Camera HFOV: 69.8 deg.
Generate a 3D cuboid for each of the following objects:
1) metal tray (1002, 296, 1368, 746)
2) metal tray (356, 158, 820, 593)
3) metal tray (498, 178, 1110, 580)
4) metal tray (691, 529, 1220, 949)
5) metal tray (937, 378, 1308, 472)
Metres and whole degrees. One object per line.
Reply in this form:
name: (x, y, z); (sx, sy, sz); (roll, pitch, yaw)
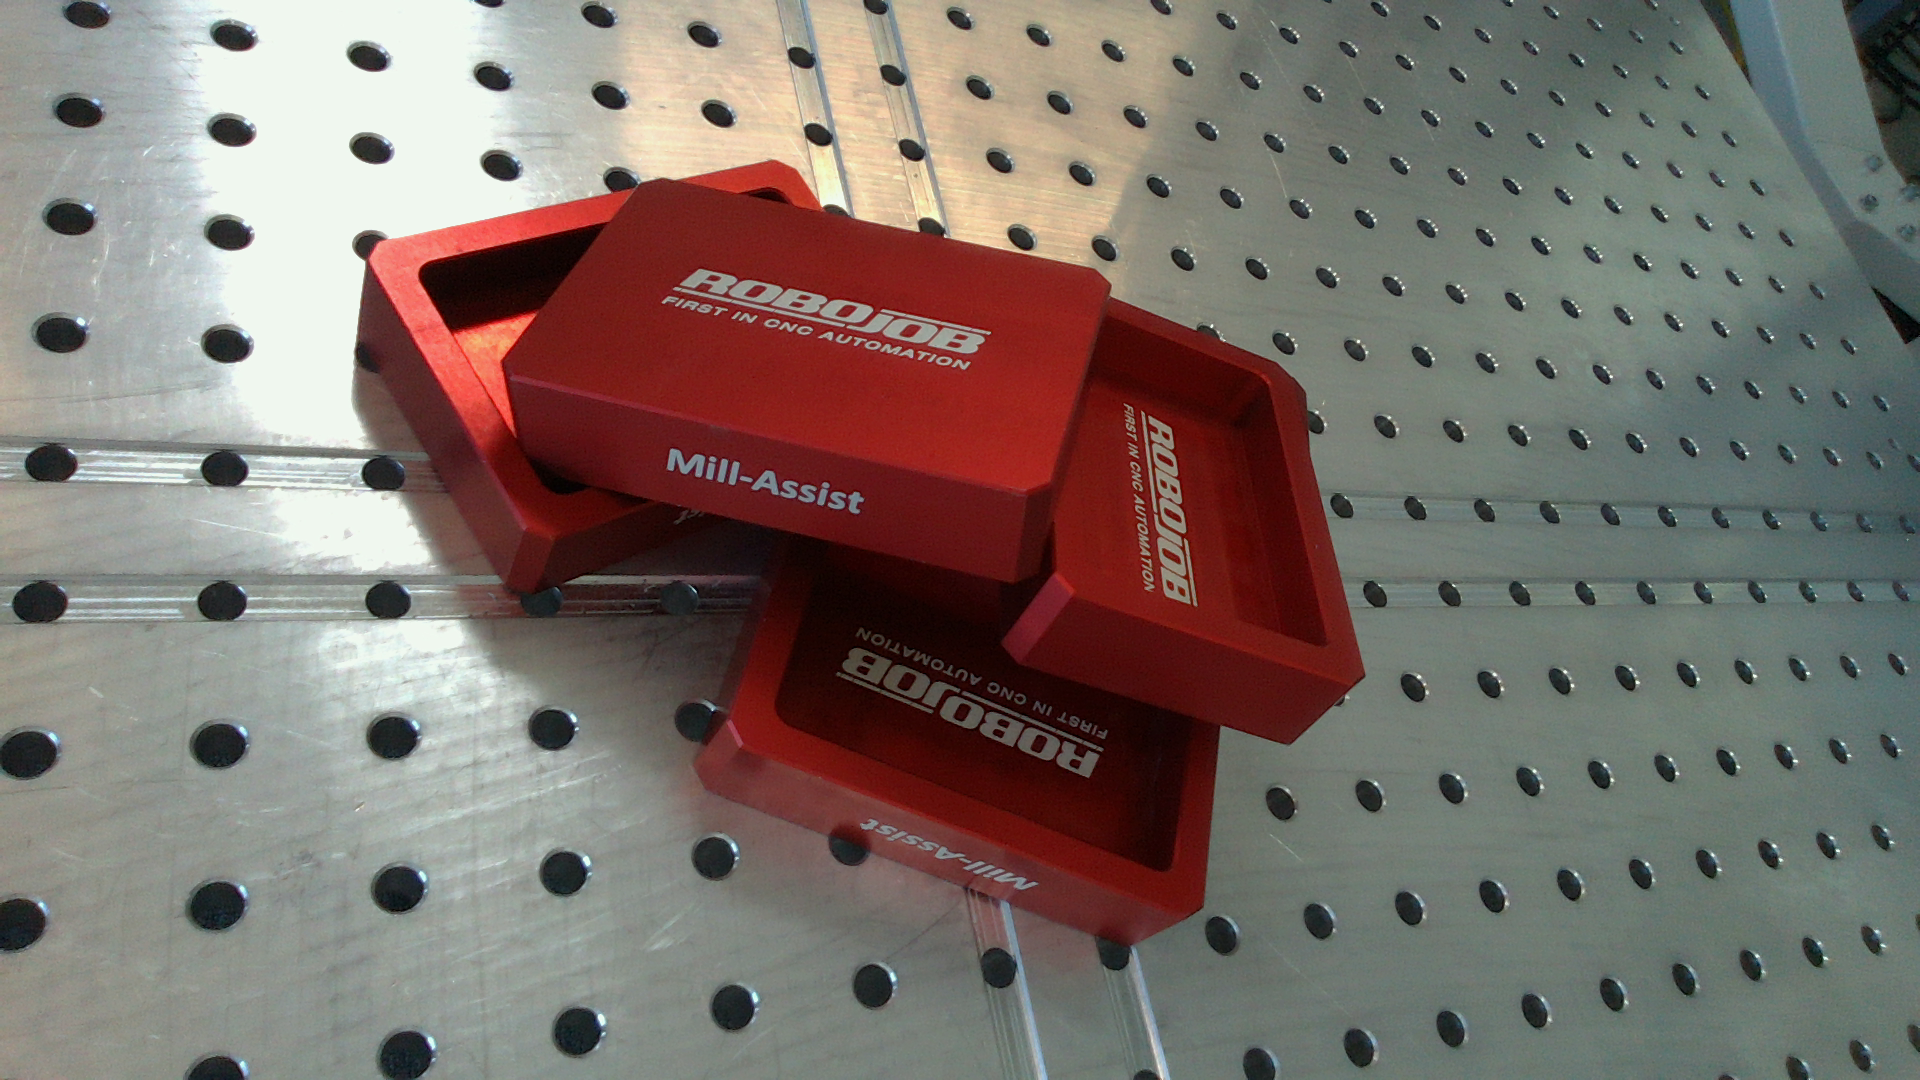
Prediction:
metal tray: (0.058, -0.013, 0.388); (0.090, 0.030, 0.130); (18, 43, -17)
metal tray: (-0.082, -0.050, 0.376); (0.130, 0.030, 0.090); (-25, 75, -36)
metal tray: (-0.034, -0.044, 0.346); (0.130, 0.030, 0.090); (13, 45, 6)
metal tray: (0.005, 0.043, 0.366); (0.130, 0.030, 0.090); (24, 53, -14)
metal tray: (0.048, -0.029, 0.432); (0.130, 0.030, 0.090); (17, 54, -17)
